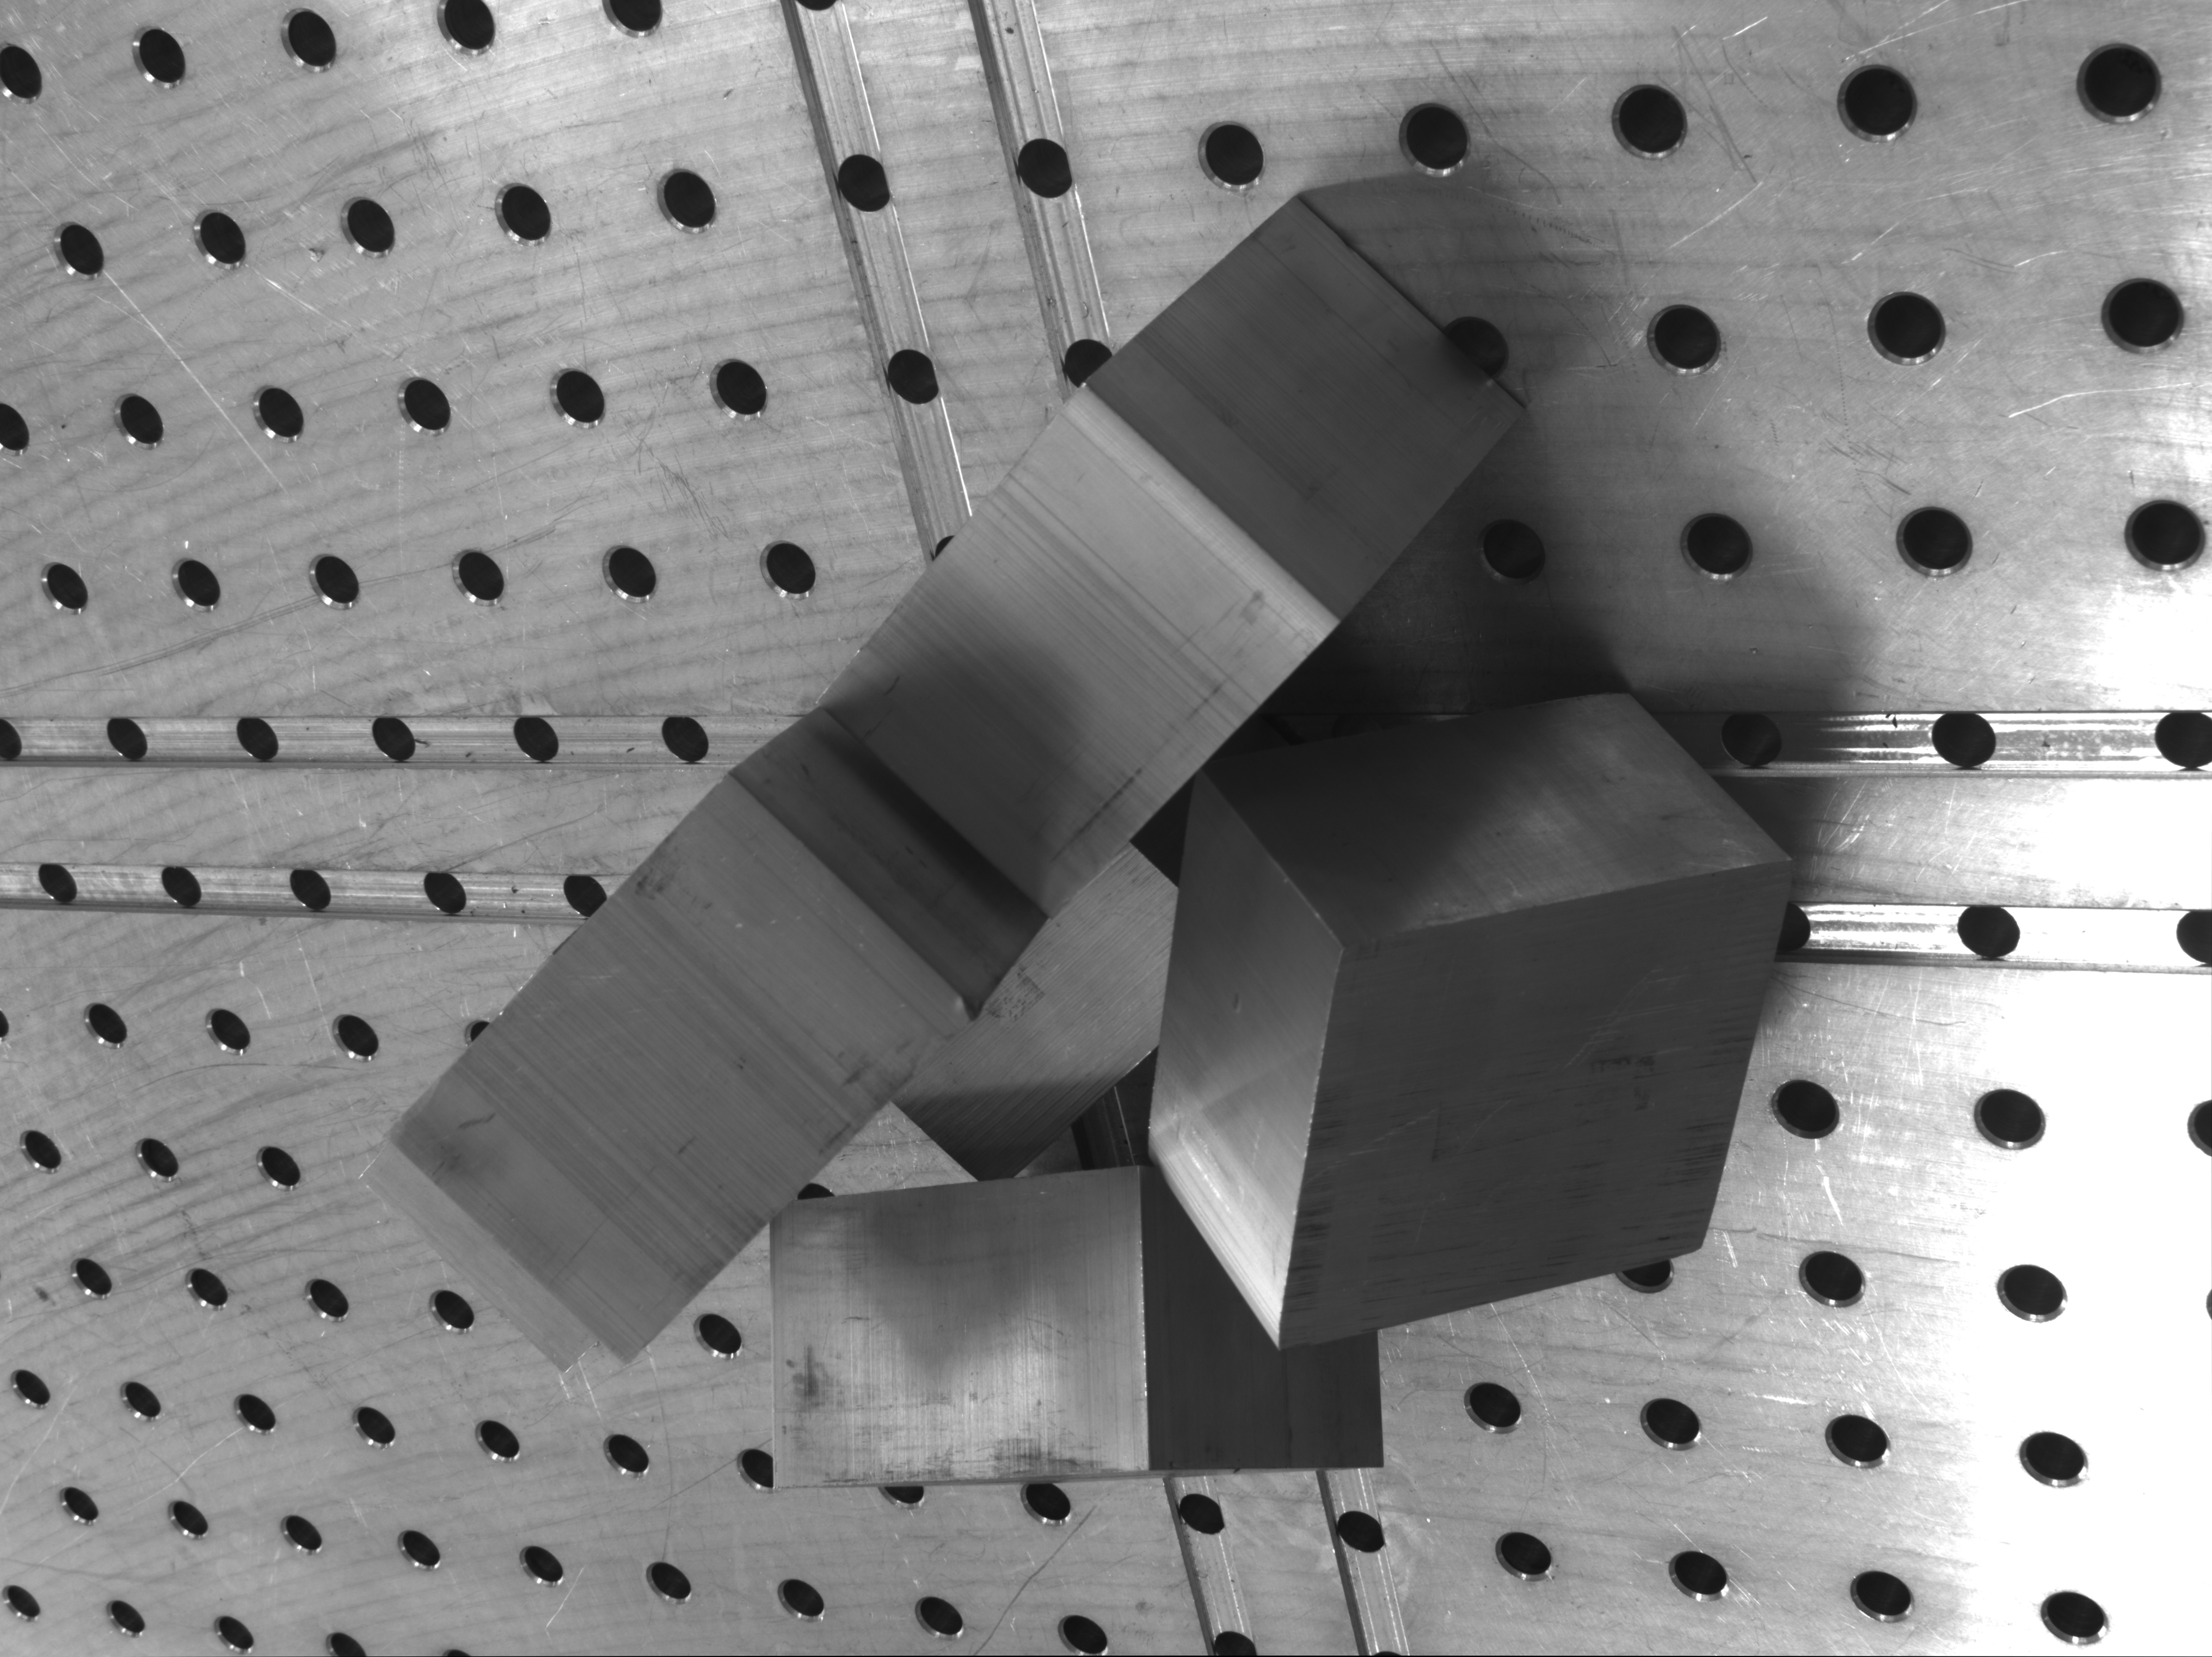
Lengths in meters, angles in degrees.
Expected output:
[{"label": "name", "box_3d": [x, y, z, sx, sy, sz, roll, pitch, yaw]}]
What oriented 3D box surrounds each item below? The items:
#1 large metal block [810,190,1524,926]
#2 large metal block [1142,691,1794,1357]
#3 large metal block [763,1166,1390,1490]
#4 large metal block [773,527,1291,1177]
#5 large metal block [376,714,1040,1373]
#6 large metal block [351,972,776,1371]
[{"label": "large metal block", "box_3d": [0.010, -0.043, 0.579, 0.050, 0.080, 0.080, 43, 129, -1]}, {"label": "large metal block", "box_3d": [0.056, 0.030, 0.590, 0.050, 0.080, 0.080, -127, 35, -47]}, {"label": "large metal block", "box_3d": [-0.005, 0.092, 0.660, 0.080, 0.080, 0.050, -9, 77, 32]}, {"label": "large metal block", "box_3d": [-0.016, 0.004, 0.643, 0.080, 0.050, 0.080, 43, 129, -1]}, {"label": "large metal block", "box_3d": [-0.058, 0.029, 0.578, 0.050, 0.080, 0.080, 44, 104, -2]}, {"label": "large metal block", "box_3d": [-0.081, 0.041, 0.678, 0.050, 0.080, 0.080, 44, 129, -2]}]
